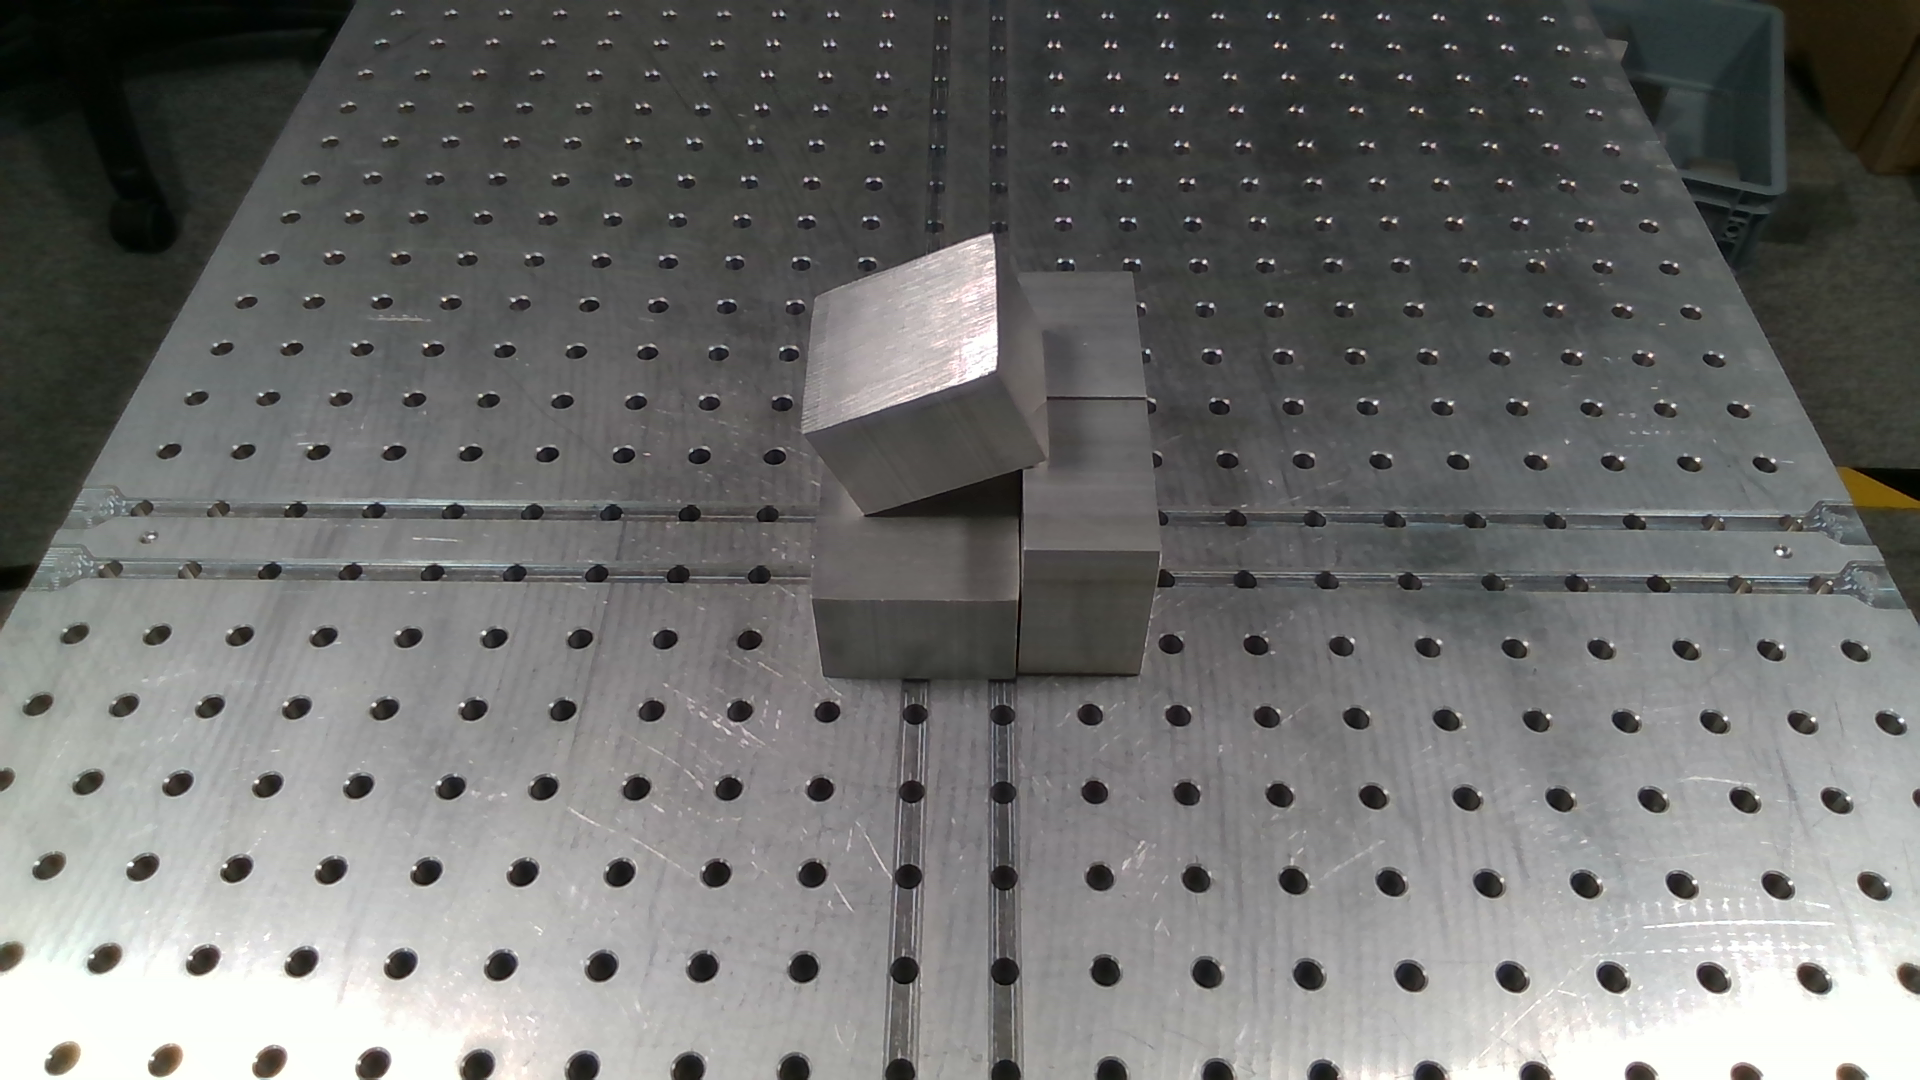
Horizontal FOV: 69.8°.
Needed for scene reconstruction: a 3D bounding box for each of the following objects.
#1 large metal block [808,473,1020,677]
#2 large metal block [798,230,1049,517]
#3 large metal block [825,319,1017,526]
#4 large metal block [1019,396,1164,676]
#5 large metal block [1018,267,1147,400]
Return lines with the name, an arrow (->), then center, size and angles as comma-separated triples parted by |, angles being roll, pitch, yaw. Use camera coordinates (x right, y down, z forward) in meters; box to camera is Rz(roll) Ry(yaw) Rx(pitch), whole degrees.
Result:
large metal block -> -0.017, 0.008, 0.564 | 0.080, 0.050, 0.080 | 0, 50, 0
large metal block -> -0.013, -0.065, 0.541 | 0.080, 0.050, 0.080 | -16, 48, 18
large metal block -> -0.016, -0.053, 0.616 | 0.080, 0.050, 0.080 | 0, 50, 0
large metal block -> 0.049, -0.001, 0.554 | 0.050, 0.080, 0.080 | 0, 50, 0
large metal block -> 0.050, -0.063, 0.605 | 0.050, 0.080, 0.080 | 0, 50, 0
